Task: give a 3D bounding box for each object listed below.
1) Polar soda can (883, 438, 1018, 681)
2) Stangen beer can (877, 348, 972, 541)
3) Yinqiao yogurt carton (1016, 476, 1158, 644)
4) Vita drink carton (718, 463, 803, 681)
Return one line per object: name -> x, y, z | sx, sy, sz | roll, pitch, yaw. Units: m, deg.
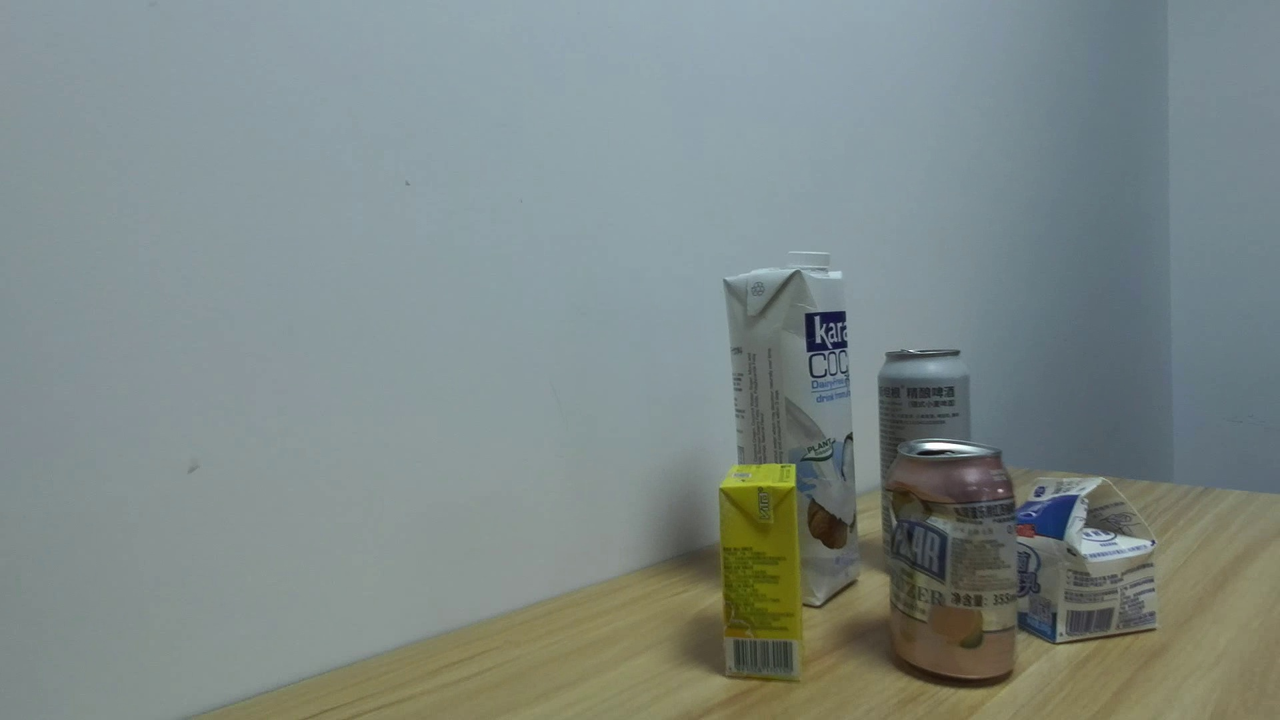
Polar soda can -> 0.174, 0.111, 0.397 | 0.067, 0.121, 0.074 | 0, 1, 24
Stangen beer can -> 0.220, 0.078, 0.542 | 0.067, 0.171, 0.067 | -3, 1, 0
Yinqiao yogurt carton -> 0.267, 0.115, 0.442 | 0.077, 0.093, 0.083 | -3, 2, -10
Vita drink carton -> 0.071, 0.119, 0.412 | 0.043, 0.109, 0.067 | -3, 3, 13
